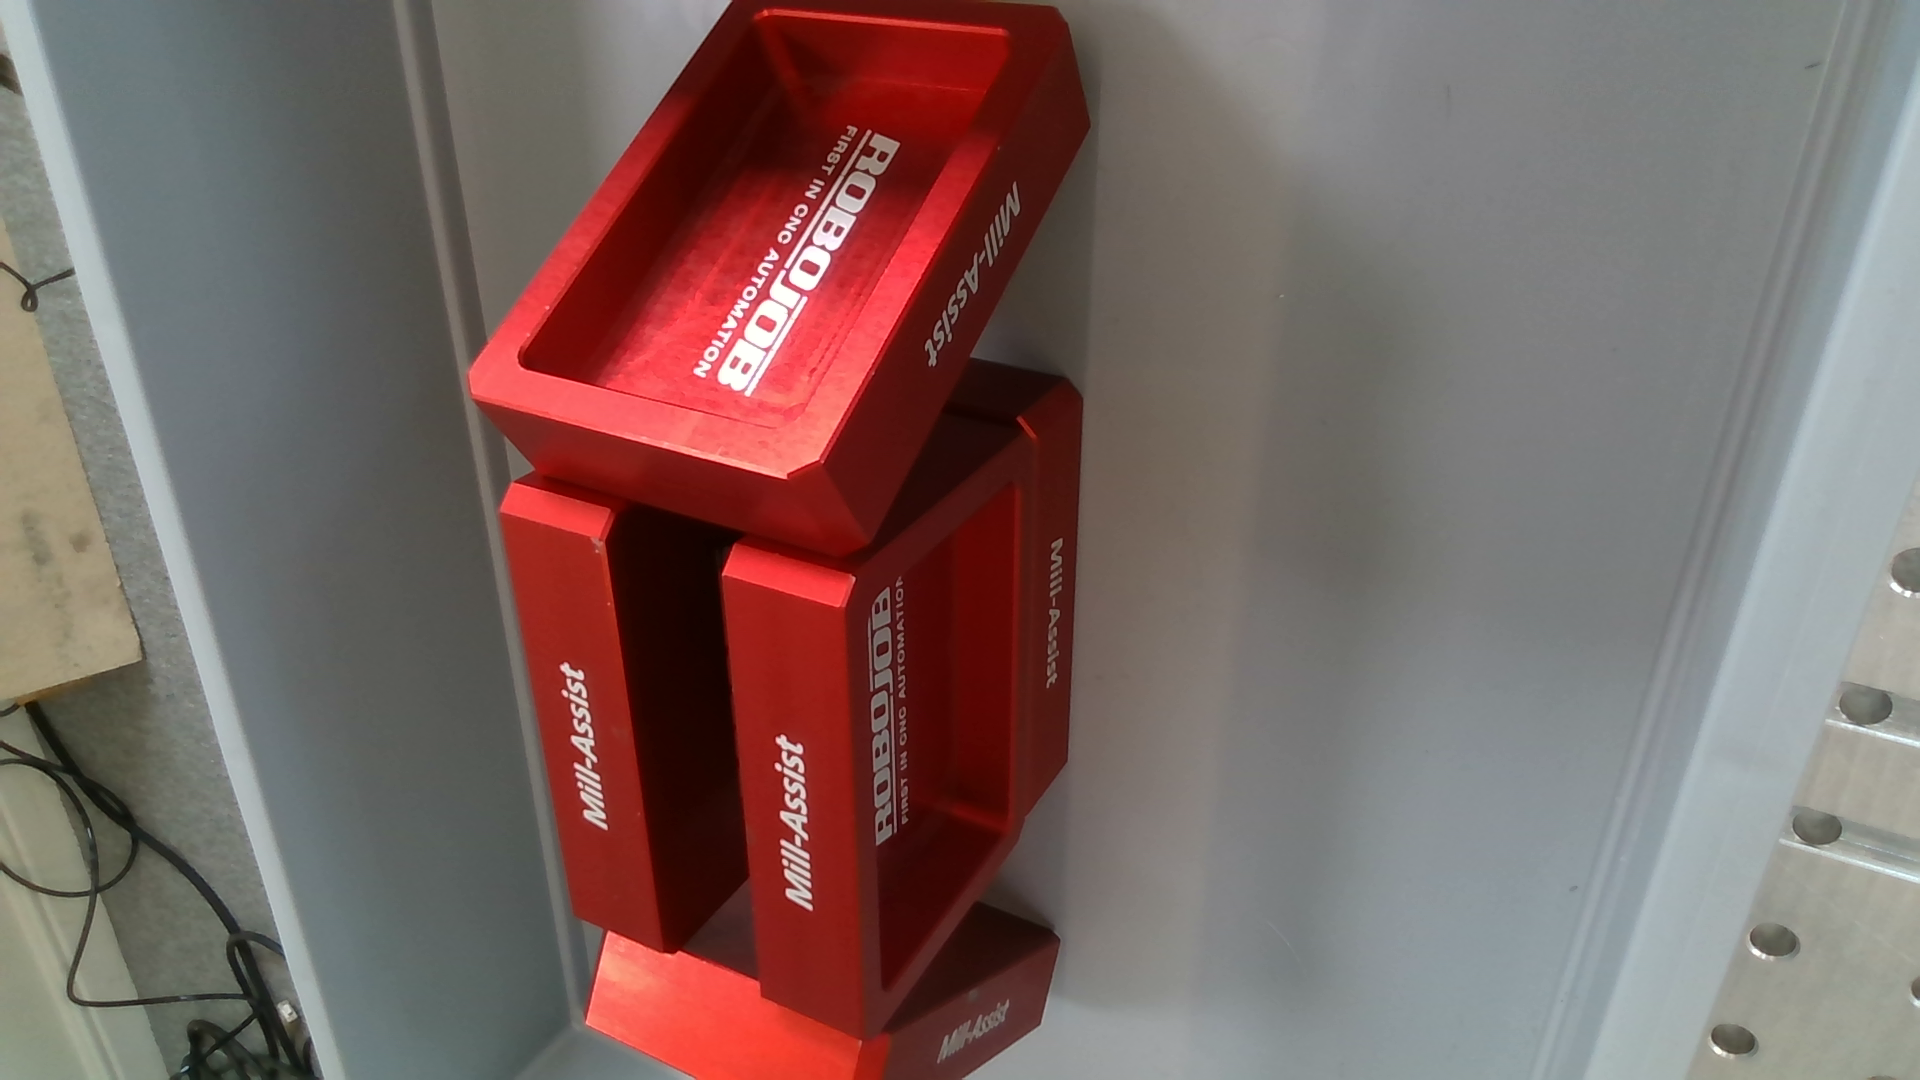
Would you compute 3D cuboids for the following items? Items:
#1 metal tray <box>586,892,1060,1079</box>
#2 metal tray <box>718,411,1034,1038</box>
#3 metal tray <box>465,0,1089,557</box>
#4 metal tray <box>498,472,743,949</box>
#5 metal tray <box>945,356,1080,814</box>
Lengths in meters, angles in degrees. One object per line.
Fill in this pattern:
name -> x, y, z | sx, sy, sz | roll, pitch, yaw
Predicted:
metal tray -> -0.035, 0.129, 0.414 | 0.090, 0.130, 0.030 | 15, 92, 25
metal tray -> -0.016, 0.044, 0.340 | 0.030, 0.090, 0.130 | 14, 122, 24
metal tray -> -0.037, -0.067, 0.308 | 0.090, 0.130, 0.030 | 15, 154, 25
metal tray -> -0.069, 0.030, 0.365 | 0.030, 0.090, 0.130 | 14, 122, 25
metal tray -> -0.014, 0.011, 0.399 | 0.090, 0.030, 0.130 | 14, 122, 25
